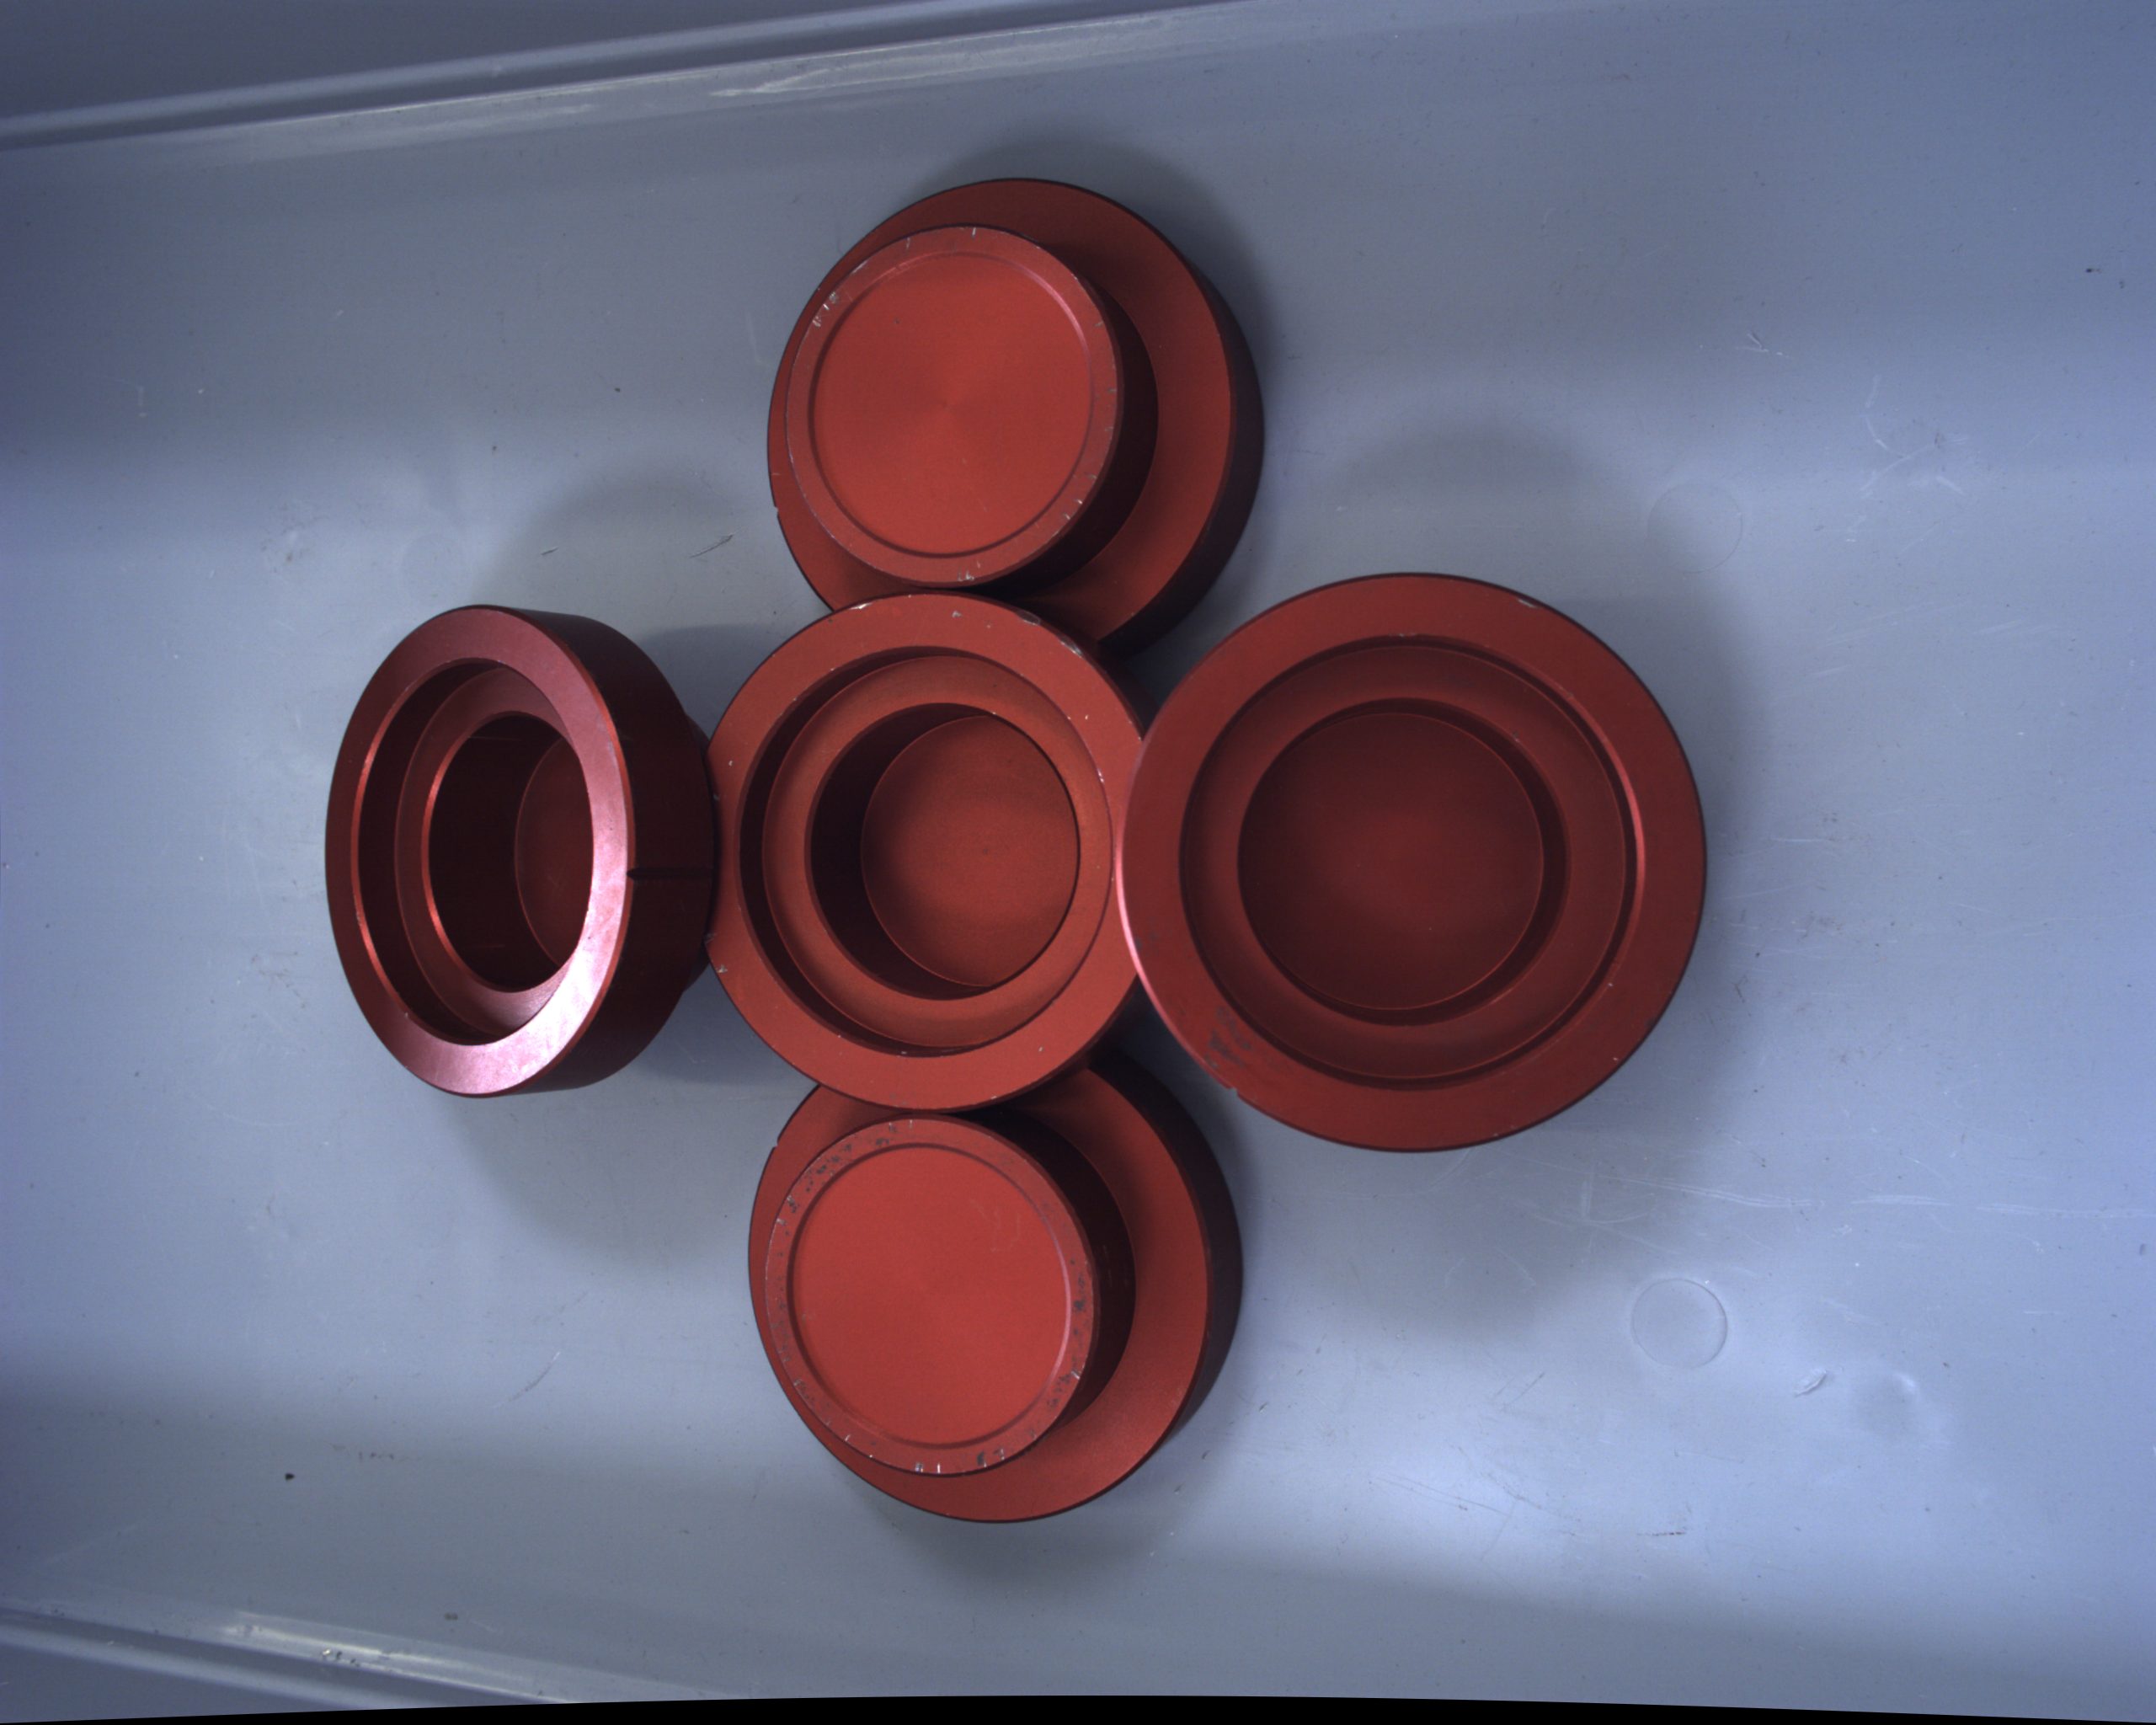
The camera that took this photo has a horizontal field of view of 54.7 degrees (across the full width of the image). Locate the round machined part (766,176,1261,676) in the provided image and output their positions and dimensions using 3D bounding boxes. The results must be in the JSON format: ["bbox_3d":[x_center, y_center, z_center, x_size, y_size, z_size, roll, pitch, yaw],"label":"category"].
[{"bbox_3d":[-0.017,-0.085,0.406,0.098,0.042,0.097,0,90,20],"label":"round machined part"}]

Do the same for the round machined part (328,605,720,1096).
[{"bbox_3d":[-0.108,-0.002,0.429,0.098,0.042,0.097,0,90,37],"label":"round machined part"}]

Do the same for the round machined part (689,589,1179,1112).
[{"bbox_3d":[-0.023,-0.002,0.407,0.098,0.042,0.097,0,90,20],"label":"round machined part"}]

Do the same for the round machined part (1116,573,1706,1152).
[{"bbox_3d":[0.057,0.000,0.371,0.099,0.042,0.097,0,90,3],"label":"round machined part"}]

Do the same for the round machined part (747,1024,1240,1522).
[{"bbox_3d":[-0.021,0.080,0.407,0.098,0.042,0.097,0,90,20],"label":"round machined part"}]
